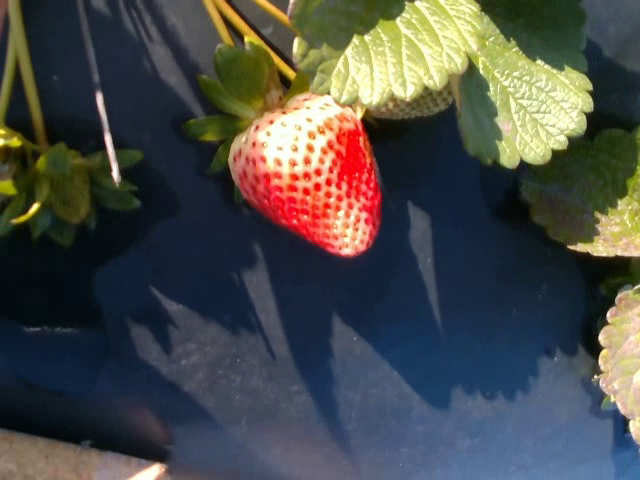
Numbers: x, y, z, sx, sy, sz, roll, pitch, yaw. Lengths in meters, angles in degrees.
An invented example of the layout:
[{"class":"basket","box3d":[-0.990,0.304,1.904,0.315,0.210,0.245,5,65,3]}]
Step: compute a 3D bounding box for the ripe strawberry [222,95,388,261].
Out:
[{"class":"ripe strawberry","box3d":[0.001,-0.014,0.131,0.042,0.045,0.037,-14,-35,-29]}]
